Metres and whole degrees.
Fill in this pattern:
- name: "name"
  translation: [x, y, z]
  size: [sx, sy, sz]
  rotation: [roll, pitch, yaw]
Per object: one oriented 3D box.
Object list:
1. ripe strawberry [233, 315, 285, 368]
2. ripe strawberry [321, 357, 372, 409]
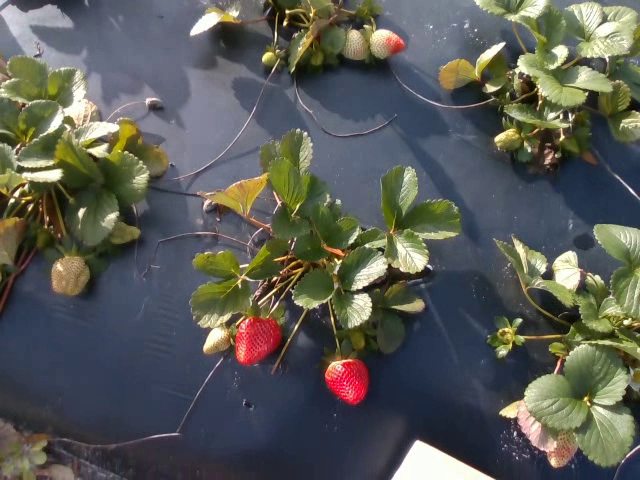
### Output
- name: "ripe strawberry"
  translation: [-0.045, 0.071, 0.437]
  size: [0.035, 0.041, 0.036]
  rotation: [14, 44, 14]
- name: "ripe strawberry"
  translation: [0.019, 0.098, 0.433]
  size: [0.033, 0.038, 0.039]
  rotation: [27, 34, -16]
